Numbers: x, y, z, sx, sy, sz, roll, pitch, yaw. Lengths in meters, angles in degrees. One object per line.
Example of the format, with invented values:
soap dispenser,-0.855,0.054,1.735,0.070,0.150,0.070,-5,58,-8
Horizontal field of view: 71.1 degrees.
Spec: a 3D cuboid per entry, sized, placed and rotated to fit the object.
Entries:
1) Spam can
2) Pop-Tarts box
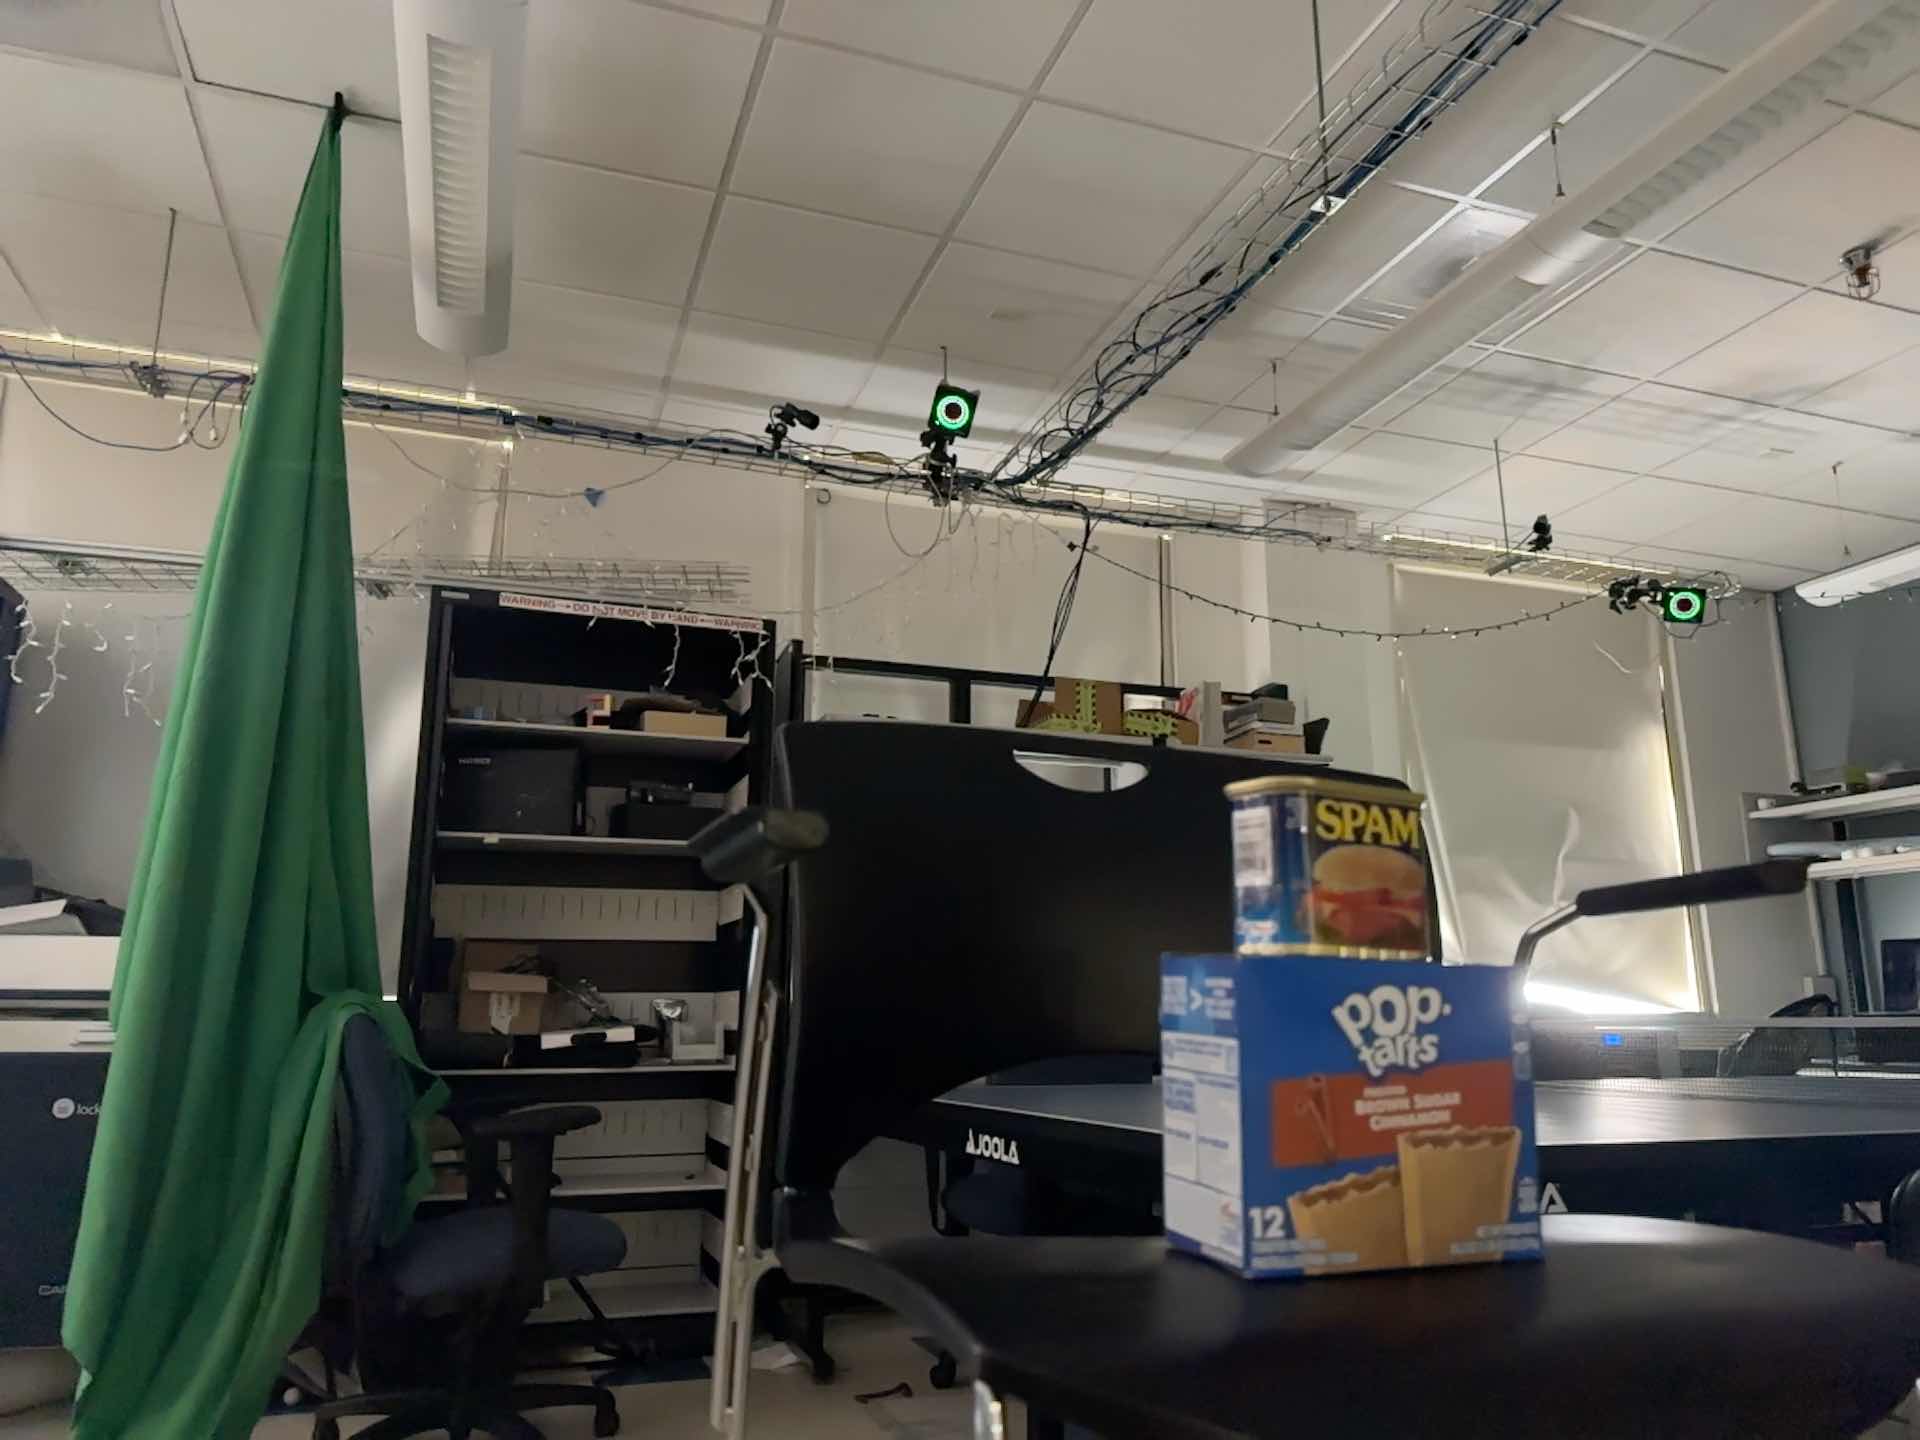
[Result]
Spam can,0.185,0.077,0.678,0.100,0.083,0.056,7,-10,-25
Pop-Tarts box,0.191,0.192,0.669,0.161,0.135,0.075,4,-10,-22
